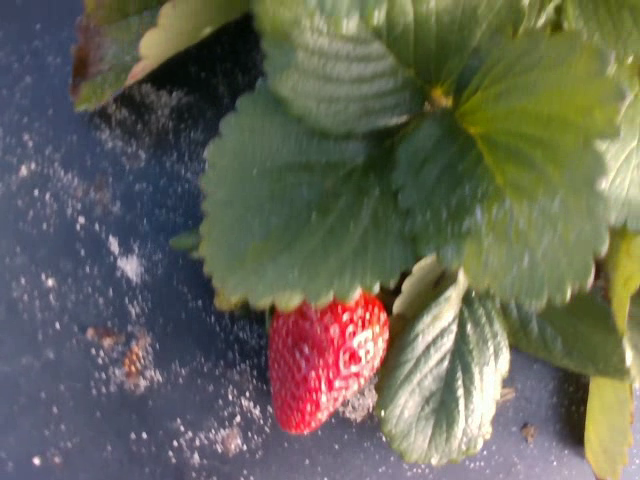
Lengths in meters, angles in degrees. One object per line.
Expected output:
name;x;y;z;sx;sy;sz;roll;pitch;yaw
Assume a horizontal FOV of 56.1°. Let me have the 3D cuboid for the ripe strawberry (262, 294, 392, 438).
ripe strawberry;-0.001;0.024;0.114;0.029;0.036;0.021;22;-4;2
